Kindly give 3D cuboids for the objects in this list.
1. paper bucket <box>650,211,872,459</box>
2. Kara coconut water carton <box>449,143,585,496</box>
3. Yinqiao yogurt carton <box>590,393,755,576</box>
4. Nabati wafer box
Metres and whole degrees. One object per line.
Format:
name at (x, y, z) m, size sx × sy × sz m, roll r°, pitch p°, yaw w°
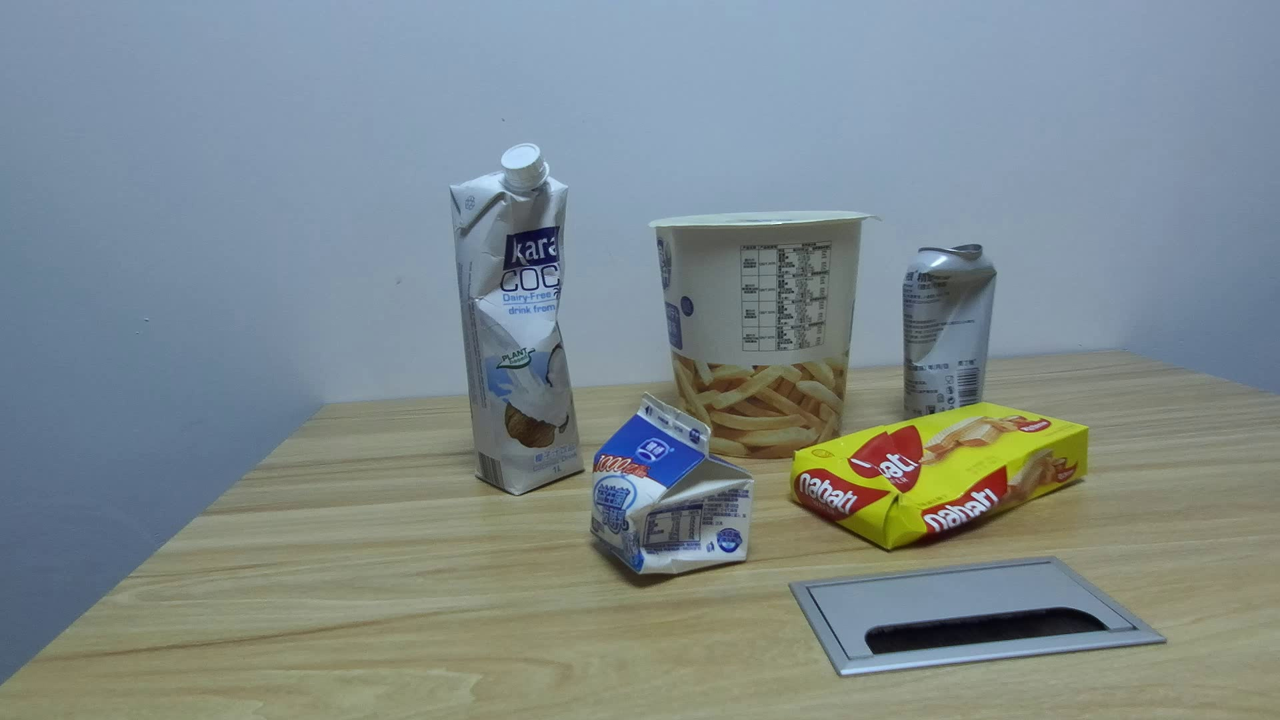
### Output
paper bucket at (0.104, -0.028, 0.629) m, size 0.198 × 0.194 × 0.198 m, roll -3°, pitch 14°, yaw 1°
Kara coconut water carton at (-0.095, -0.030, 0.544) m, size 0.083 × 0.255 × 0.078 m, roll -10°, pitch 17°, yaw -29°
Yinqiao yogurt carton at (0.017, 0.073, 0.427) m, size 0.081 × 0.097 × 0.074 m, roll -3°, pitch 12°, yaw -31°
Nabati wafer box at (0.217, 0.078, 0.505) m, size 0.205 × 0.042 × 0.106 m, roll -10°, pitch 14°, yaw -25°
